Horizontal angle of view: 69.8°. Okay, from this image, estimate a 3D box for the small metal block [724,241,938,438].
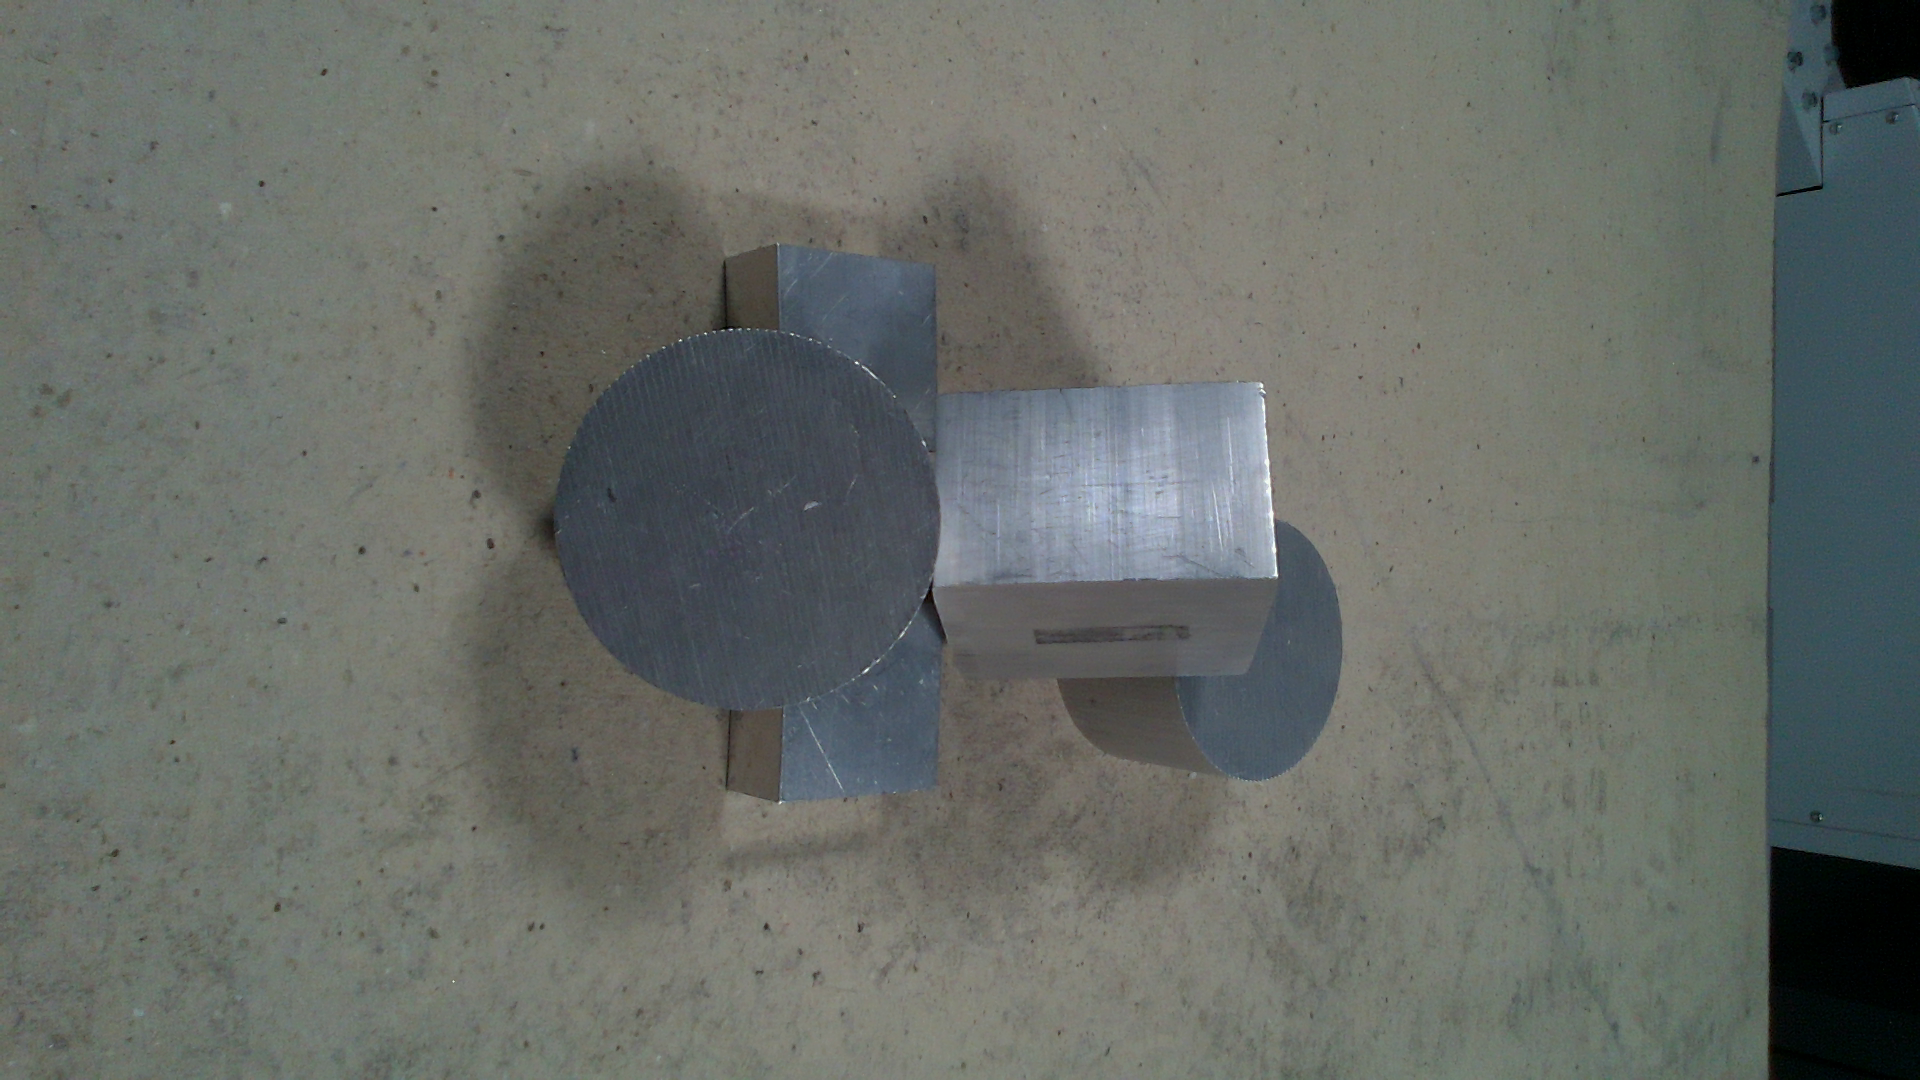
[{"bbox_3d":[-0.033,-0.048,0.361,0.050,0.025,0.050,-2,91,-40],"label":"small metal block"}]

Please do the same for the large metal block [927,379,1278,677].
[{"bbox_3d":[0.036,0.001,0.359,0.080,0.080,0.050,76,13,-68],"label":"large metal block"}]

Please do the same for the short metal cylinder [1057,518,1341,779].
[{"bbox_3d":[0.076,0.032,0.436,0.080,0.050,0.080,0,90,-40],"label":"short metal cylinder"}]

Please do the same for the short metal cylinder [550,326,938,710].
[{"bbox_3d":[-0.046,-0.005,0.311,0.080,0.050,0.080,0,91,-4],"label":"short metal cylinder"}]

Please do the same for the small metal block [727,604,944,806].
[{"bbox_3d":[-0.032,0.041,0.362,0.050,0.025,0.050,4,88,-40],"label":"small metal block"}]
